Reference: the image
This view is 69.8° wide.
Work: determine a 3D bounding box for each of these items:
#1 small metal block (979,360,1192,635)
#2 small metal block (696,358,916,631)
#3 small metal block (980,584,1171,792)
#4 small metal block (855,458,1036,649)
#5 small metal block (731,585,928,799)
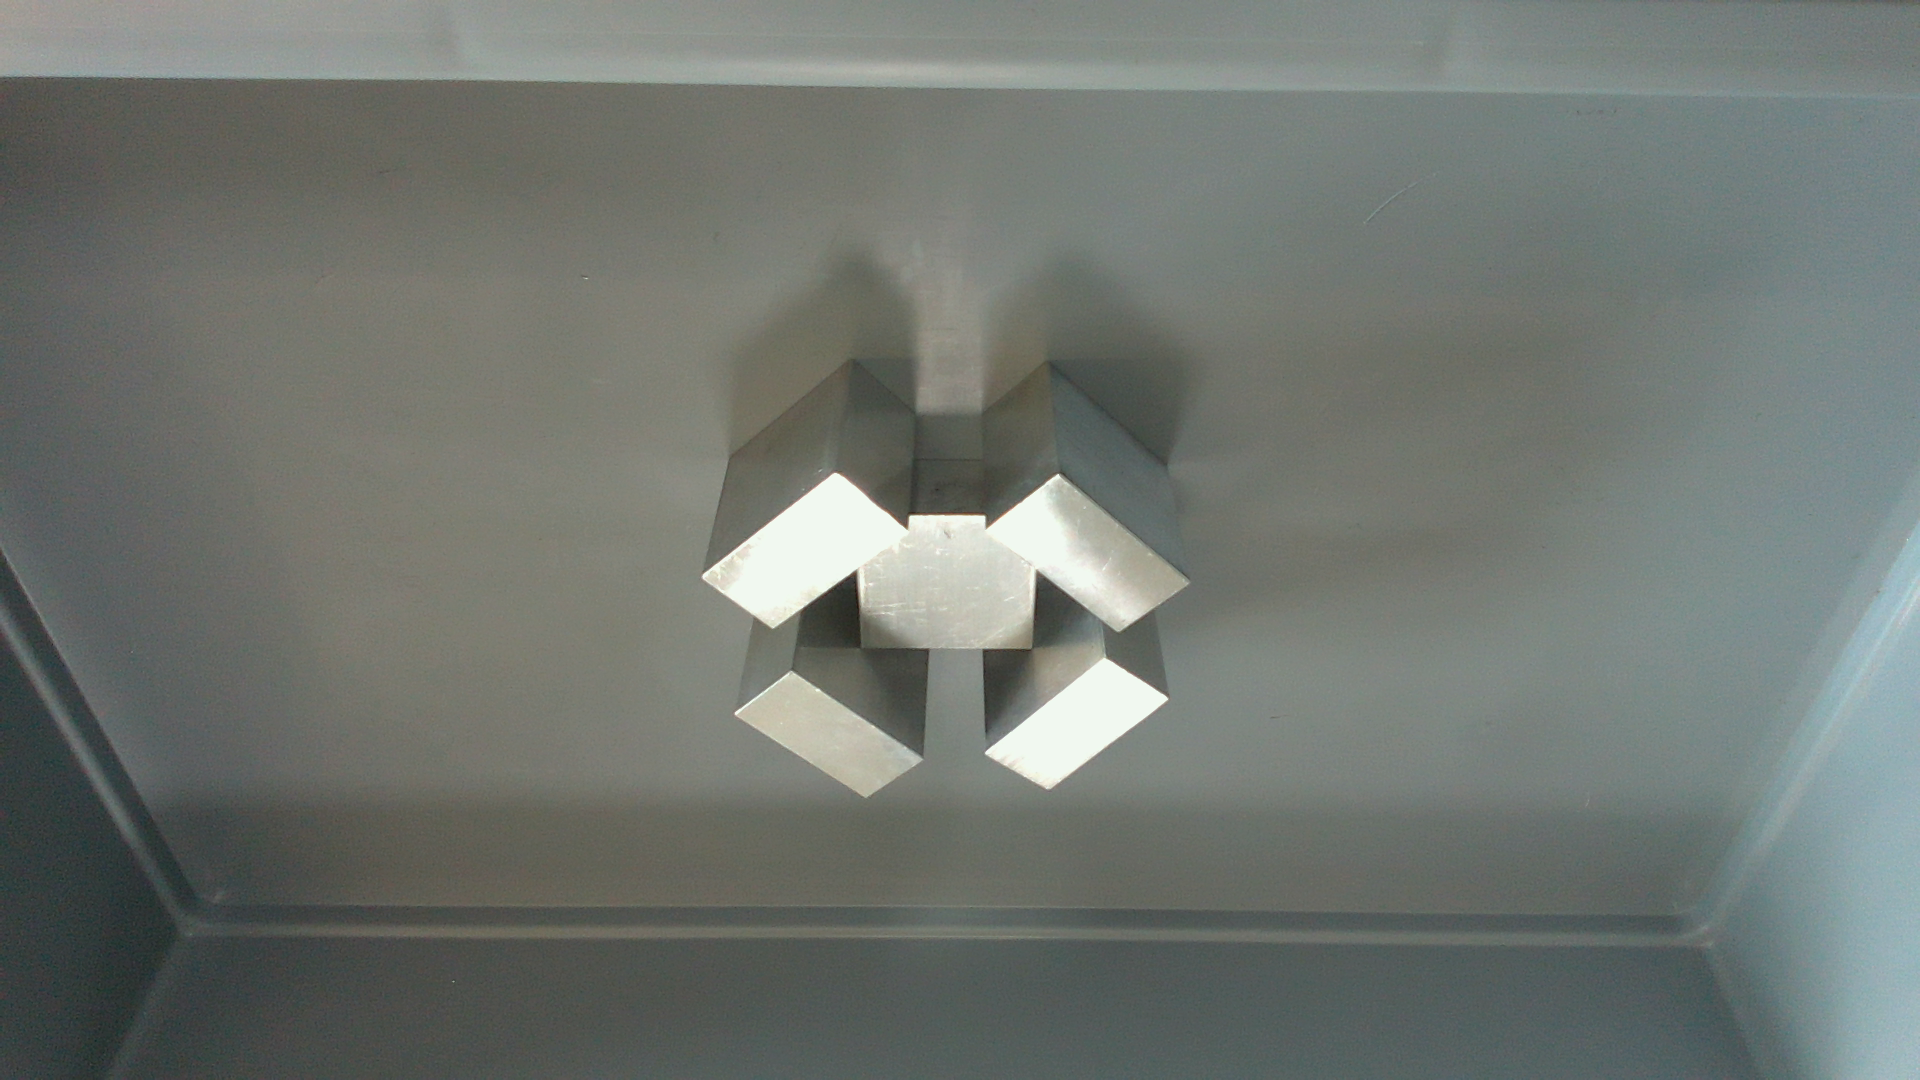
[{"bbox_3d":[0.032,-0.011,0.362,0.025,0.050,0.050,-38,122,26],"label":"small metal block"},{"bbox_3d":[-0.039,-0.012,0.361,0.050,0.050,0.025,-34,121,26],"label":"small metal block"},{"bbox_3d":[0.032,0.037,0.403,0.025,0.050,0.050,32,122,-25],"label":"small metal block"},{"bbox_3d":[-0.004,0.004,0.392,0.050,0.025,0.050,0,130,-1],"label":"small metal block"},{"bbox_3d":[-0.036,0.039,0.406,0.025,0.050,0.050,-37,121,28],"label":"small metal block"}]
